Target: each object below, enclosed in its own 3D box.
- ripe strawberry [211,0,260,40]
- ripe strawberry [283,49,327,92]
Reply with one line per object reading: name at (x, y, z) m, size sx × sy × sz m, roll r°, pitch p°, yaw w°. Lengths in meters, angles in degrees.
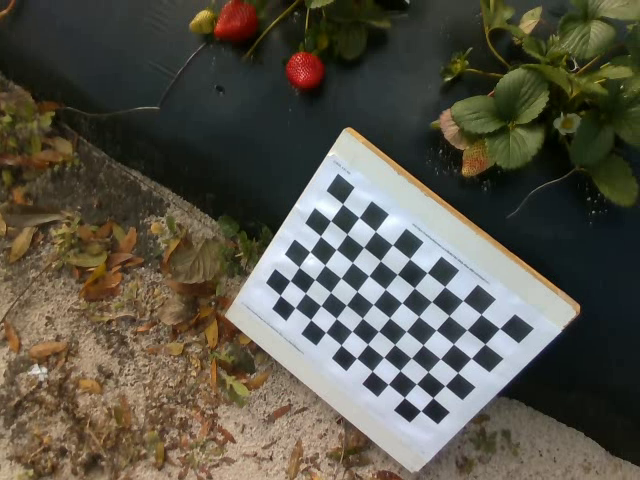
ripe strawberry at (-0.070, -0.163, 0.547) m, size 0.035 × 0.041 × 0.036 m, roll 27°, pitch 51°, yaw 20°
ripe strawberry at (-0.014, -0.123, 0.537) m, size 0.034 × 0.039 × 0.038 m, roll 37°, pitch -49°, yaw -11°
